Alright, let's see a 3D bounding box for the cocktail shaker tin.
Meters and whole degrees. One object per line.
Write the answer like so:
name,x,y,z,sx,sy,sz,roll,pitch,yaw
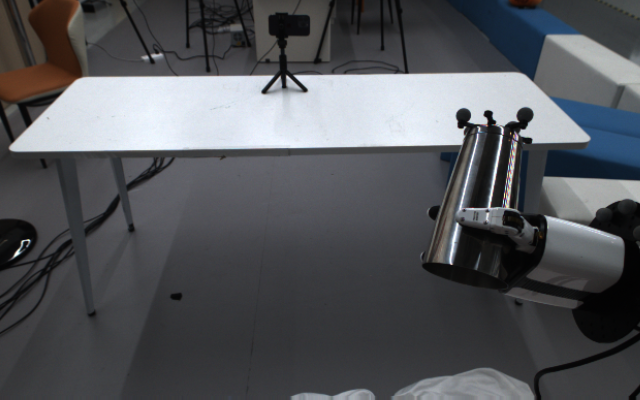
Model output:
cocktail shaker tin,0.181,0.005,0.549,0.093,0.093,0.170,13,74,15
